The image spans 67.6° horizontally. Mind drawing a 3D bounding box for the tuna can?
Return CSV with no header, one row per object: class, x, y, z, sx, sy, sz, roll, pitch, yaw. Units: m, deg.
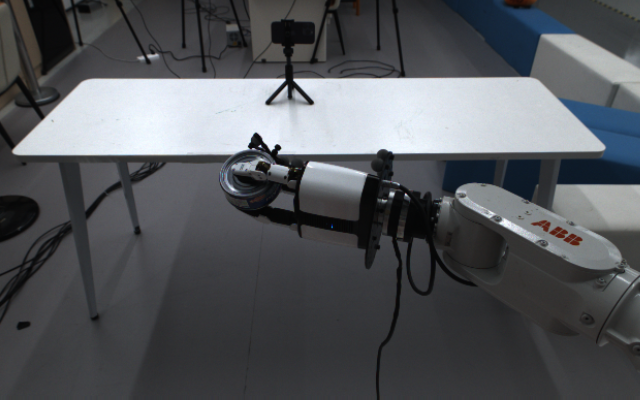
tuna can,-0.096,-0.023,0.688,0.085,0.034,0.085,-4,57,6
